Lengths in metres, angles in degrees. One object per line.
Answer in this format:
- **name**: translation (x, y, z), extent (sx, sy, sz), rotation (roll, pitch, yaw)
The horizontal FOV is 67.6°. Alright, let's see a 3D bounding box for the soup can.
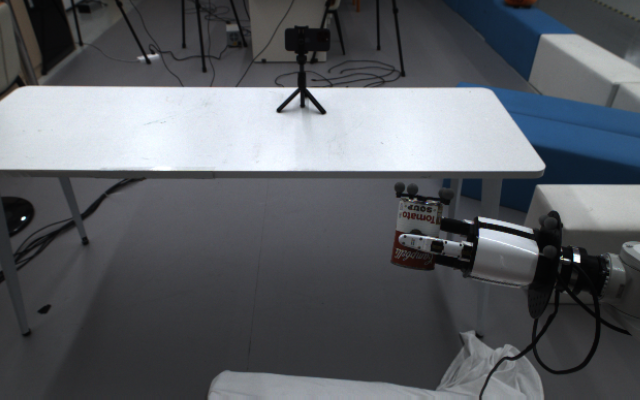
- **soup can**: translation (0.150, 0.049, 0.742), extent (0.067, 0.101, 0.067), rotation (7, 4, 0)
